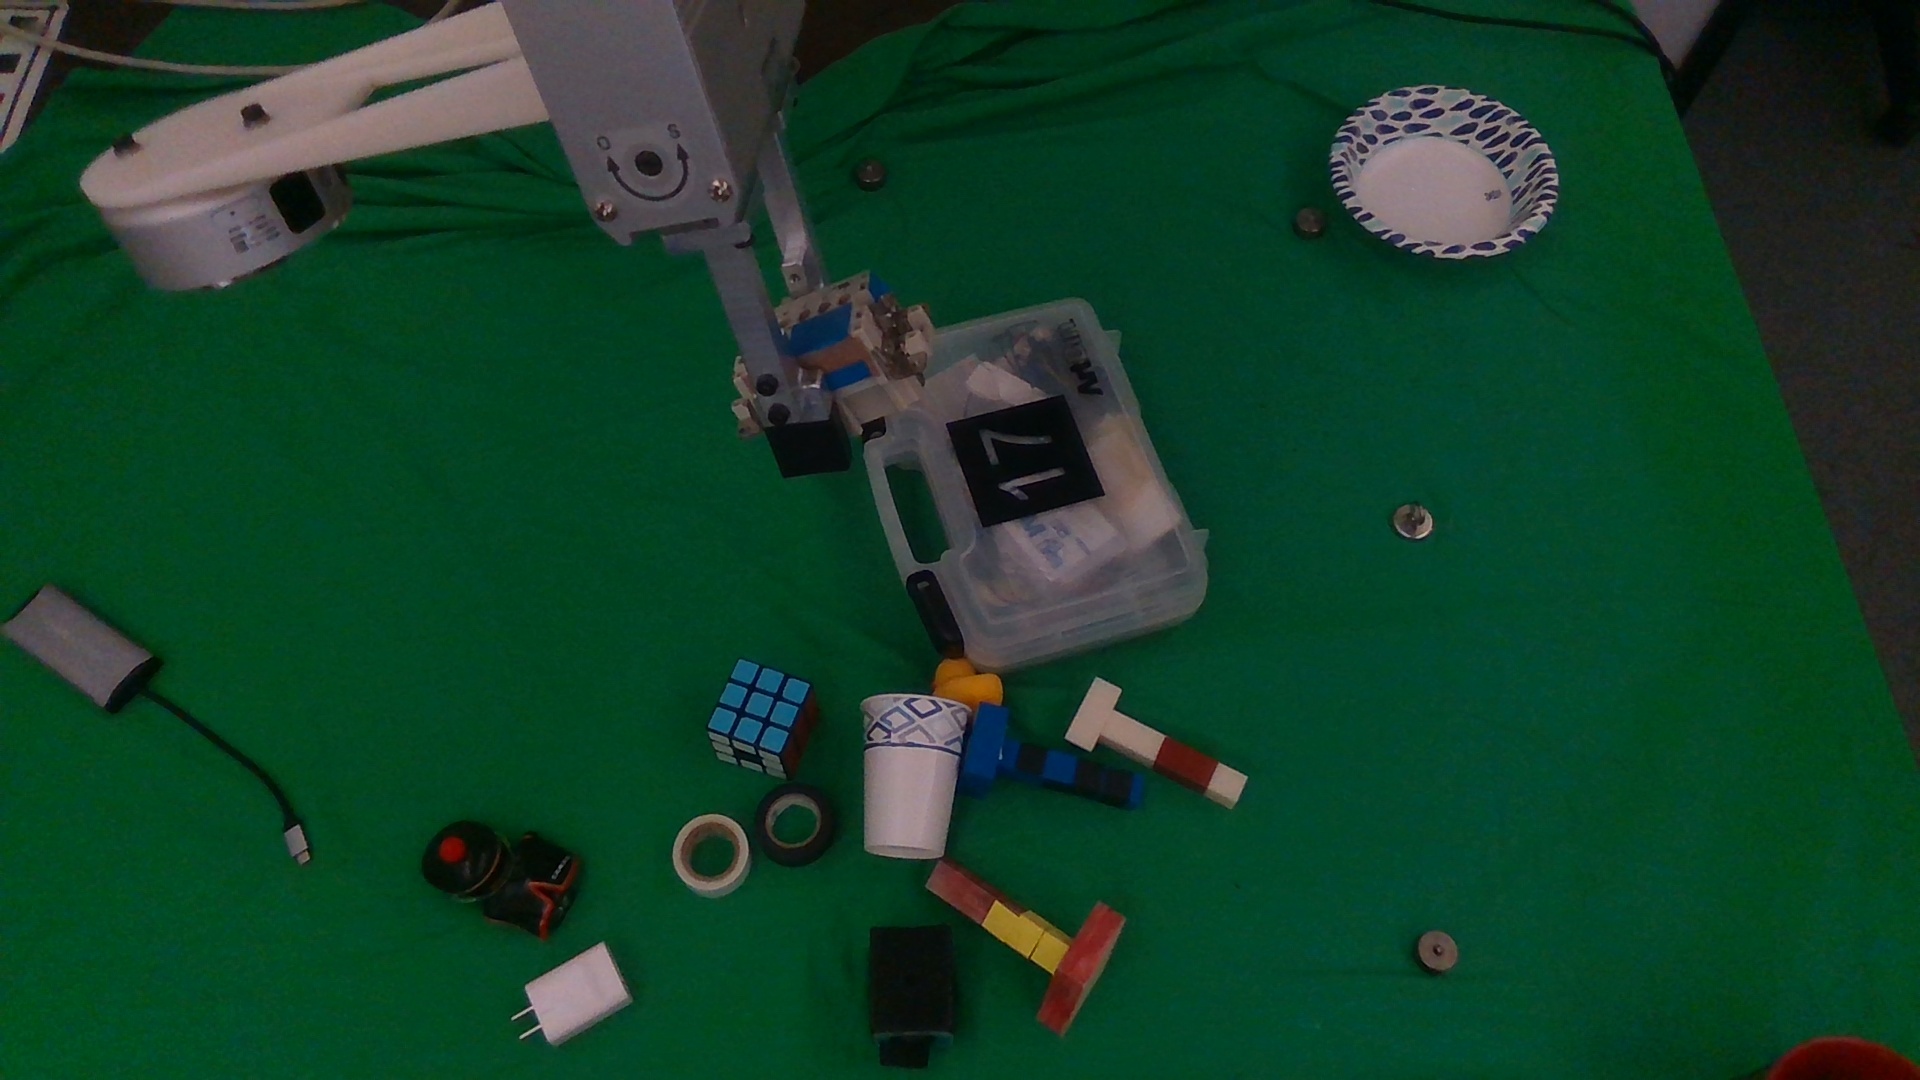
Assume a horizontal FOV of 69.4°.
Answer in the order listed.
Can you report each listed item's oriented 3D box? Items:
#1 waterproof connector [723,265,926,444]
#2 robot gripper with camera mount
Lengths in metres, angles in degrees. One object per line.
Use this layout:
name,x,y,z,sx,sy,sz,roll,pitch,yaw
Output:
waterproof connector,-0.041,-0.052,0.413,0.065,0.037,0.035,-20,38,17
robot gripper with camera mount,-0.132,-0.080,0.391,0.194,0.158,0.119,-12,36,12
